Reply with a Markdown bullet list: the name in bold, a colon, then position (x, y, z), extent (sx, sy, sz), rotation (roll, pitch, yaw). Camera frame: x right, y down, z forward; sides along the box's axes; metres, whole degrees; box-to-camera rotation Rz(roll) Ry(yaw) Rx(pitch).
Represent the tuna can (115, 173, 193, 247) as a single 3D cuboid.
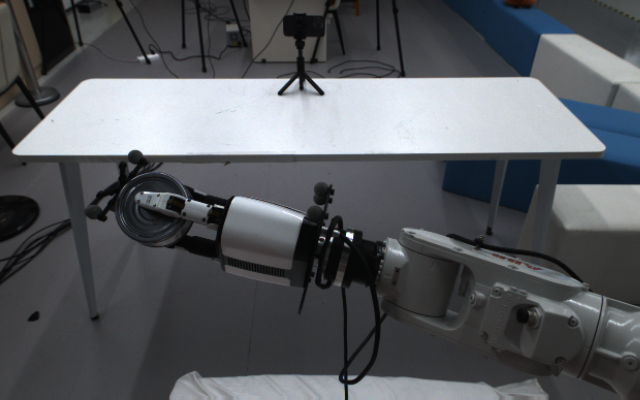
- **tuna can**: position (-0.189, 0.016, 0.566), extent (0.085, 0.034, 0.085), rotation (1, 77, -5)
